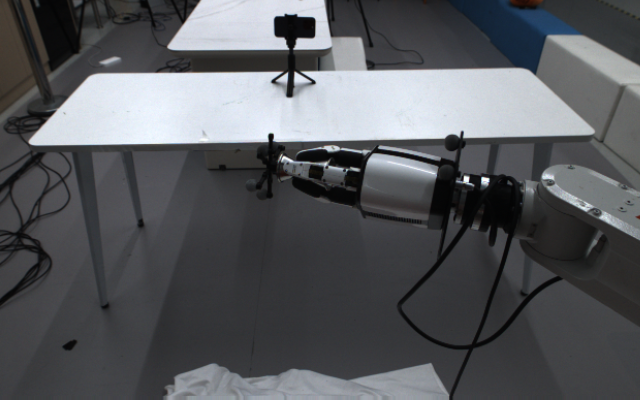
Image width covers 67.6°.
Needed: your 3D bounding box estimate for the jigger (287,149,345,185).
[{"bbox_3d":[-0.012,-0.042,0.632,0.071,0.043,0.043,8,35,16],"label":"jigger"}]
